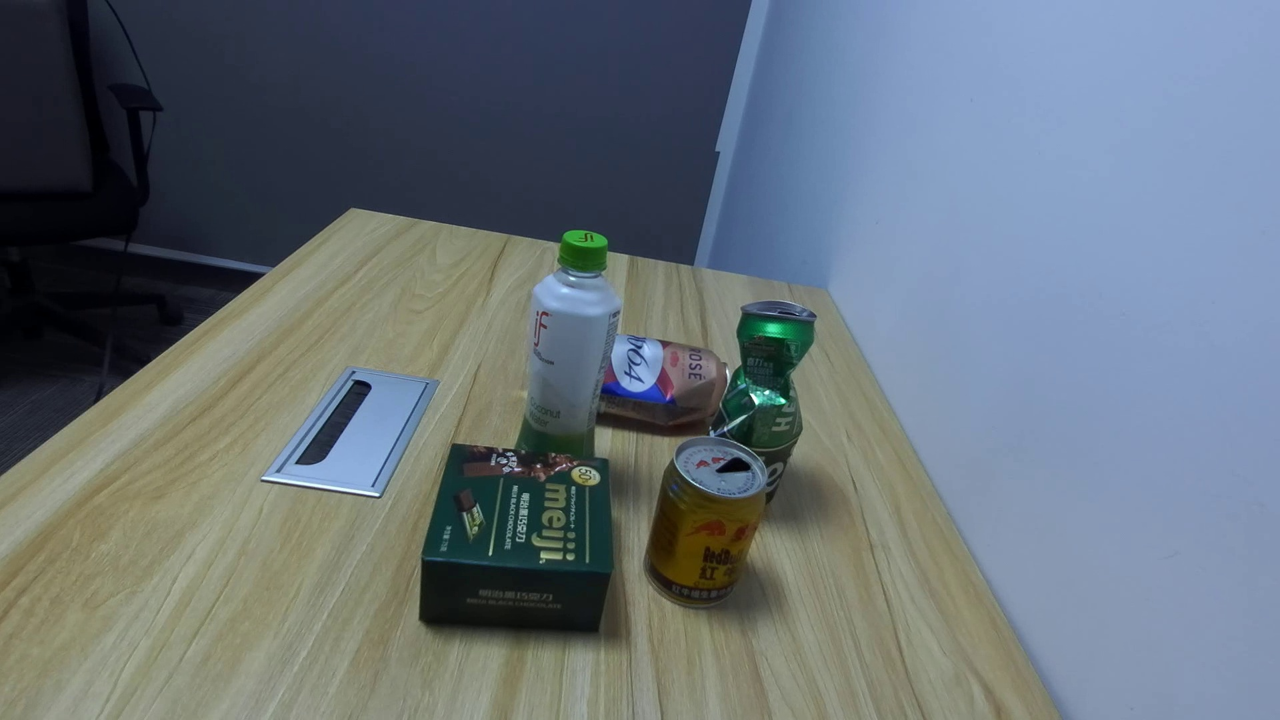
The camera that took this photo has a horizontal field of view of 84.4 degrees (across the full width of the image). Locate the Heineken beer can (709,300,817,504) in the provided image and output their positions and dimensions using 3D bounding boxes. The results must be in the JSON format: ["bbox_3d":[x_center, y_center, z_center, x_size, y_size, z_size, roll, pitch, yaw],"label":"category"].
[{"bbox_3d":[0.091,0.036,0.533,0.067,0.159,0.078,-1,24,-28],"label":"Heineken beer can"}]

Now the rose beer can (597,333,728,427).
[{"bbox_3d":[-0.004,0.015,0.631,0.168,0.069,0.070,7,9,-6],"label":"rose beer can"}]

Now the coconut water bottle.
[{"bbox_3d":[-0.051,0.002,0.504,0.063,0.188,0.063,9,27,-4],"label":"coconut water bottle"}]

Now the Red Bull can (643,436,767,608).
[{"bbox_3d":[0.043,0.103,0.457,0.069,0.092,0.069,8,29,-4],"label":"Red Bull can"}]

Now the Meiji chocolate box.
[{"bbox_3d":[-0.075,0.111,0.450,0.109,0.056,0.110,7,29,-8],"label":"Meiji chocolate box"}]
